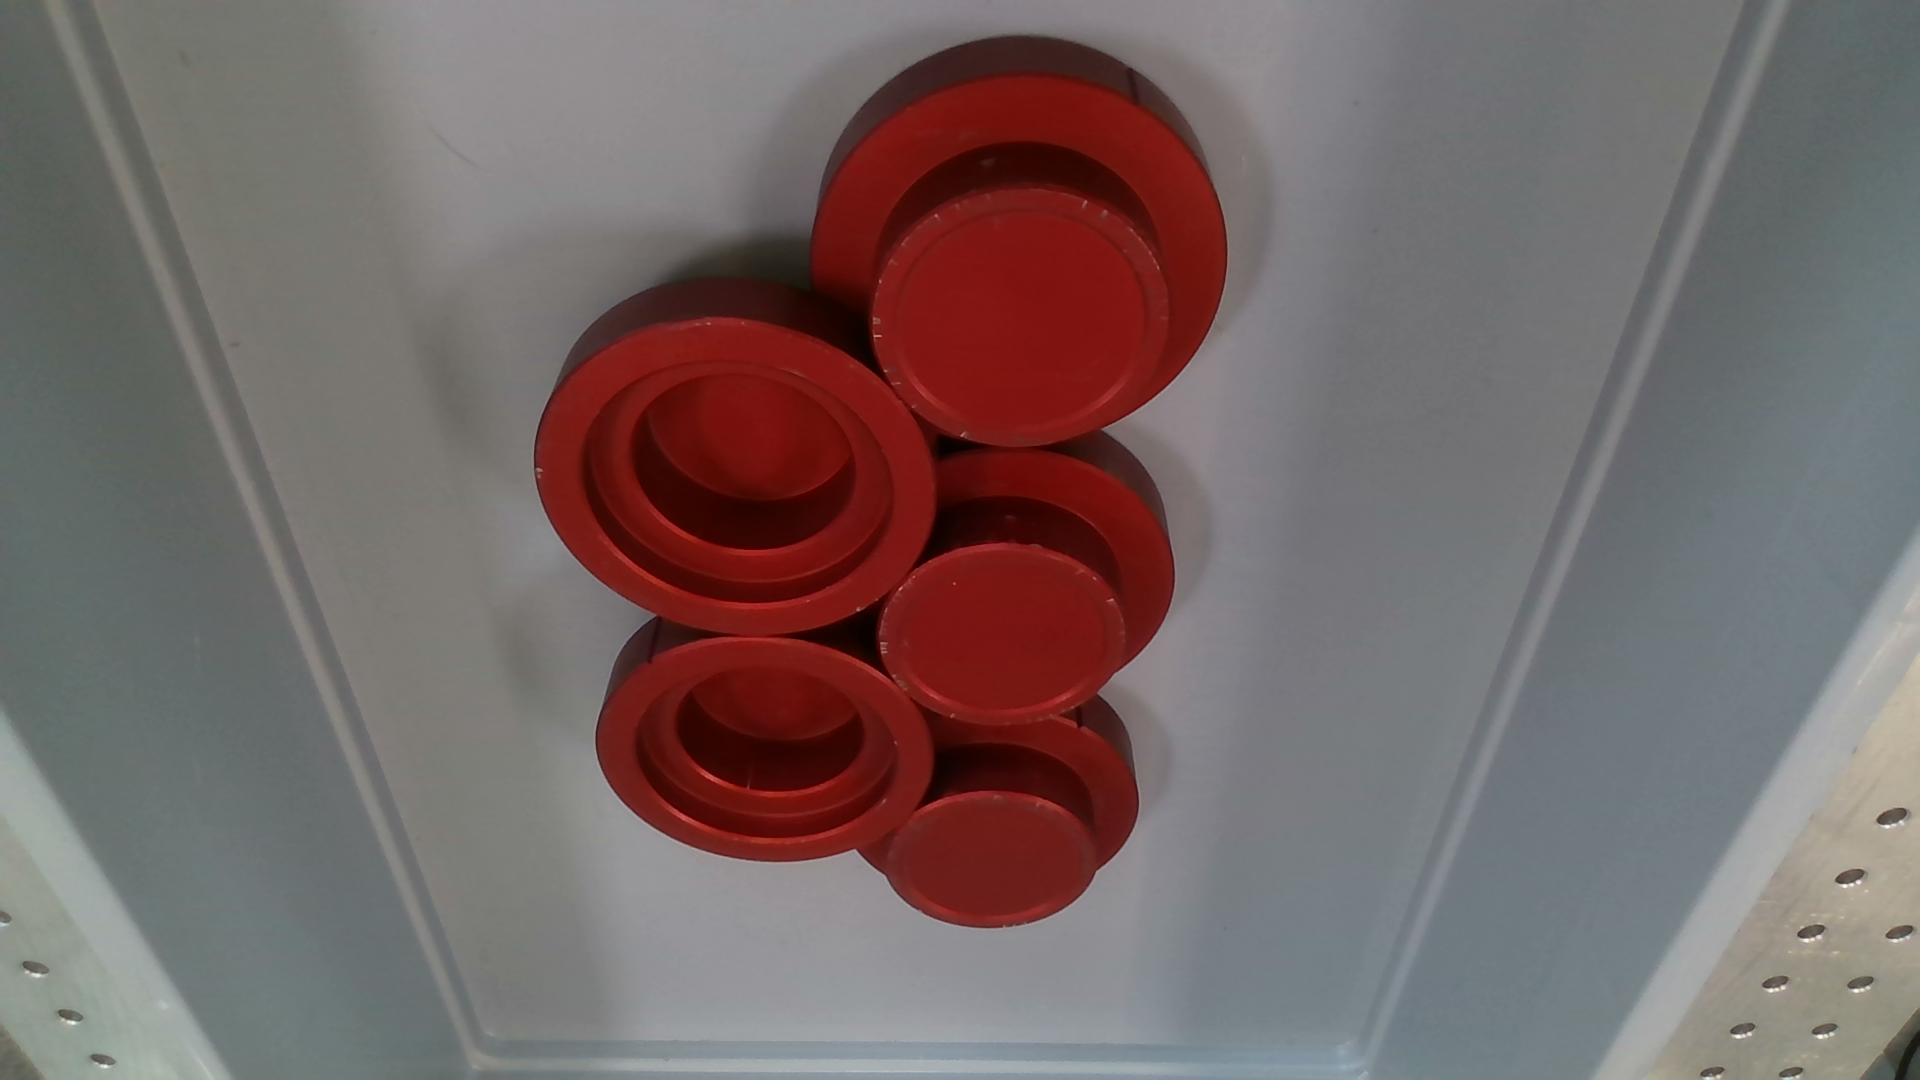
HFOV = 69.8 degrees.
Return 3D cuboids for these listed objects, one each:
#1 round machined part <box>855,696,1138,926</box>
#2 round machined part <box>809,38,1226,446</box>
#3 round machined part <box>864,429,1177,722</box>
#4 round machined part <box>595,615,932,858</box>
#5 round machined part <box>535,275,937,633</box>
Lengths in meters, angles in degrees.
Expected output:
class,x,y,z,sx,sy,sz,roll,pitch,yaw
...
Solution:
class,x,y,z,sx,sy,sz,roll,pitch,yaw
round machined part,0.009,0.089,0.450,0.098,0.042,0.098,-1,130,-1
round machined part,0.014,-0.061,0.323,0.098,0.042,0.098,-1,131,-1
round machined part,0.012,0.013,0.387,0.098,0.042,0.098,-1,130,-1
round machined part,-0.057,0.050,0.418,0.098,0.042,0.098,0,130,0
round machined part,-0.055,-0.025,0.355,0.098,0.042,0.098,0,130,0
